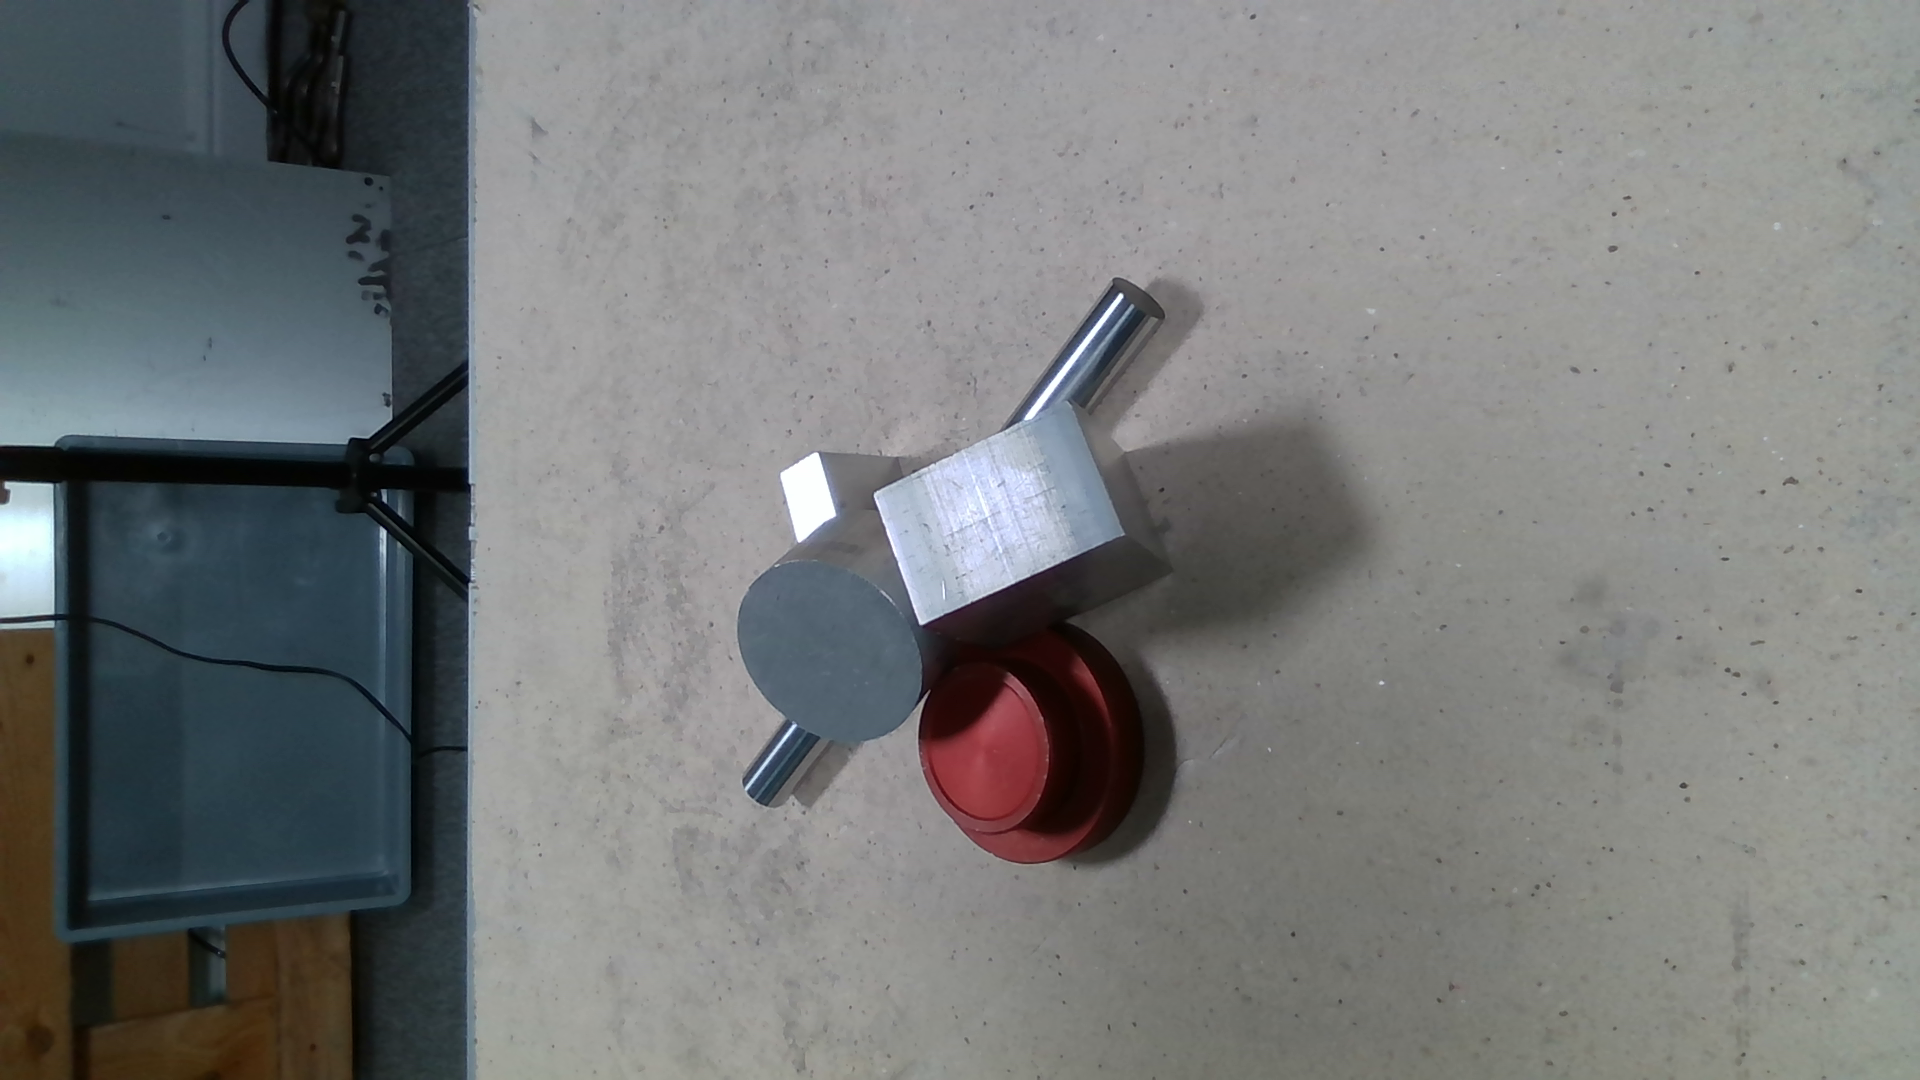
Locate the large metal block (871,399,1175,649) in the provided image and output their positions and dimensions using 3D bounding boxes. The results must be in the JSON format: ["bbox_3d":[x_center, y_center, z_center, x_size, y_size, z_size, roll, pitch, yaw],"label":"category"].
[{"bbox_3d":[0.025,-0.002,0.511,0.080,0.080,0.050,-25,72,15],"label":"large metal block"}]

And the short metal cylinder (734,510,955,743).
[{"bbox_3d":[-0.043,0.034,0.554,0.080,0.050,0.080,9,116,19],"label":"short metal cylinder"}]

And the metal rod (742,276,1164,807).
[{"bbox_3d":[-0.013,0.013,0.594,0.025,0.025,0.301,53,121,27],"label":"metal rod"}]

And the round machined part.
[{"bbox_3d":[0.021,0.082,0.554,0.098,0.042,0.098,0,91,40],"label":"round machined part"}]

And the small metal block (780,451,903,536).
[{"bbox_3d":[-0.047,-0.010,0.606,0.025,0.050,0.050,-27,74,36],"label":"small metal block"}]
